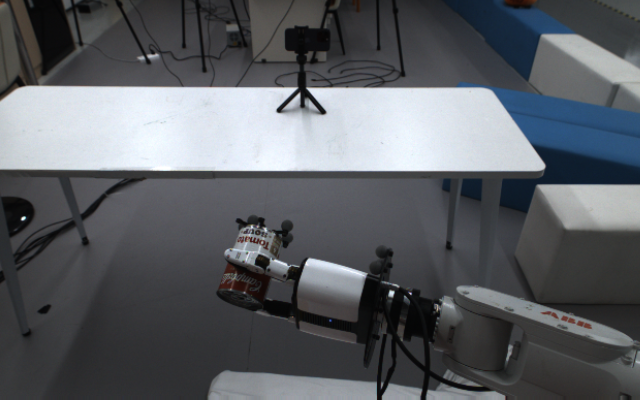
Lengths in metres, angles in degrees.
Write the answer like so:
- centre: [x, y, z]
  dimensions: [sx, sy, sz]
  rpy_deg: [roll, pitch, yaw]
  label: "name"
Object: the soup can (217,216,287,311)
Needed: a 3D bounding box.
- centre: [-0.096, 0.095, 0.683]
  dimensions: [0.067, 0.067, 0.101]
  rpy_deg: [9, 60, 10]
  label: "soup can"
